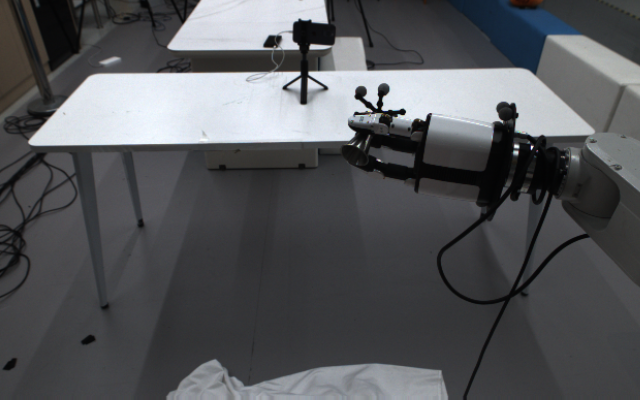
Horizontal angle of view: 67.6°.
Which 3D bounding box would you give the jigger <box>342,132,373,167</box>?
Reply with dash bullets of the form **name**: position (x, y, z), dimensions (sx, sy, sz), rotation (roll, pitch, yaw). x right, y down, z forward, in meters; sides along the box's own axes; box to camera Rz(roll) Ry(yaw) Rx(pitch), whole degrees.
- **jigger**: position (0.061, -0.091, 0.684), dimensions (0.043, 0.043, 0.071), rotation (19, 61, 23)
